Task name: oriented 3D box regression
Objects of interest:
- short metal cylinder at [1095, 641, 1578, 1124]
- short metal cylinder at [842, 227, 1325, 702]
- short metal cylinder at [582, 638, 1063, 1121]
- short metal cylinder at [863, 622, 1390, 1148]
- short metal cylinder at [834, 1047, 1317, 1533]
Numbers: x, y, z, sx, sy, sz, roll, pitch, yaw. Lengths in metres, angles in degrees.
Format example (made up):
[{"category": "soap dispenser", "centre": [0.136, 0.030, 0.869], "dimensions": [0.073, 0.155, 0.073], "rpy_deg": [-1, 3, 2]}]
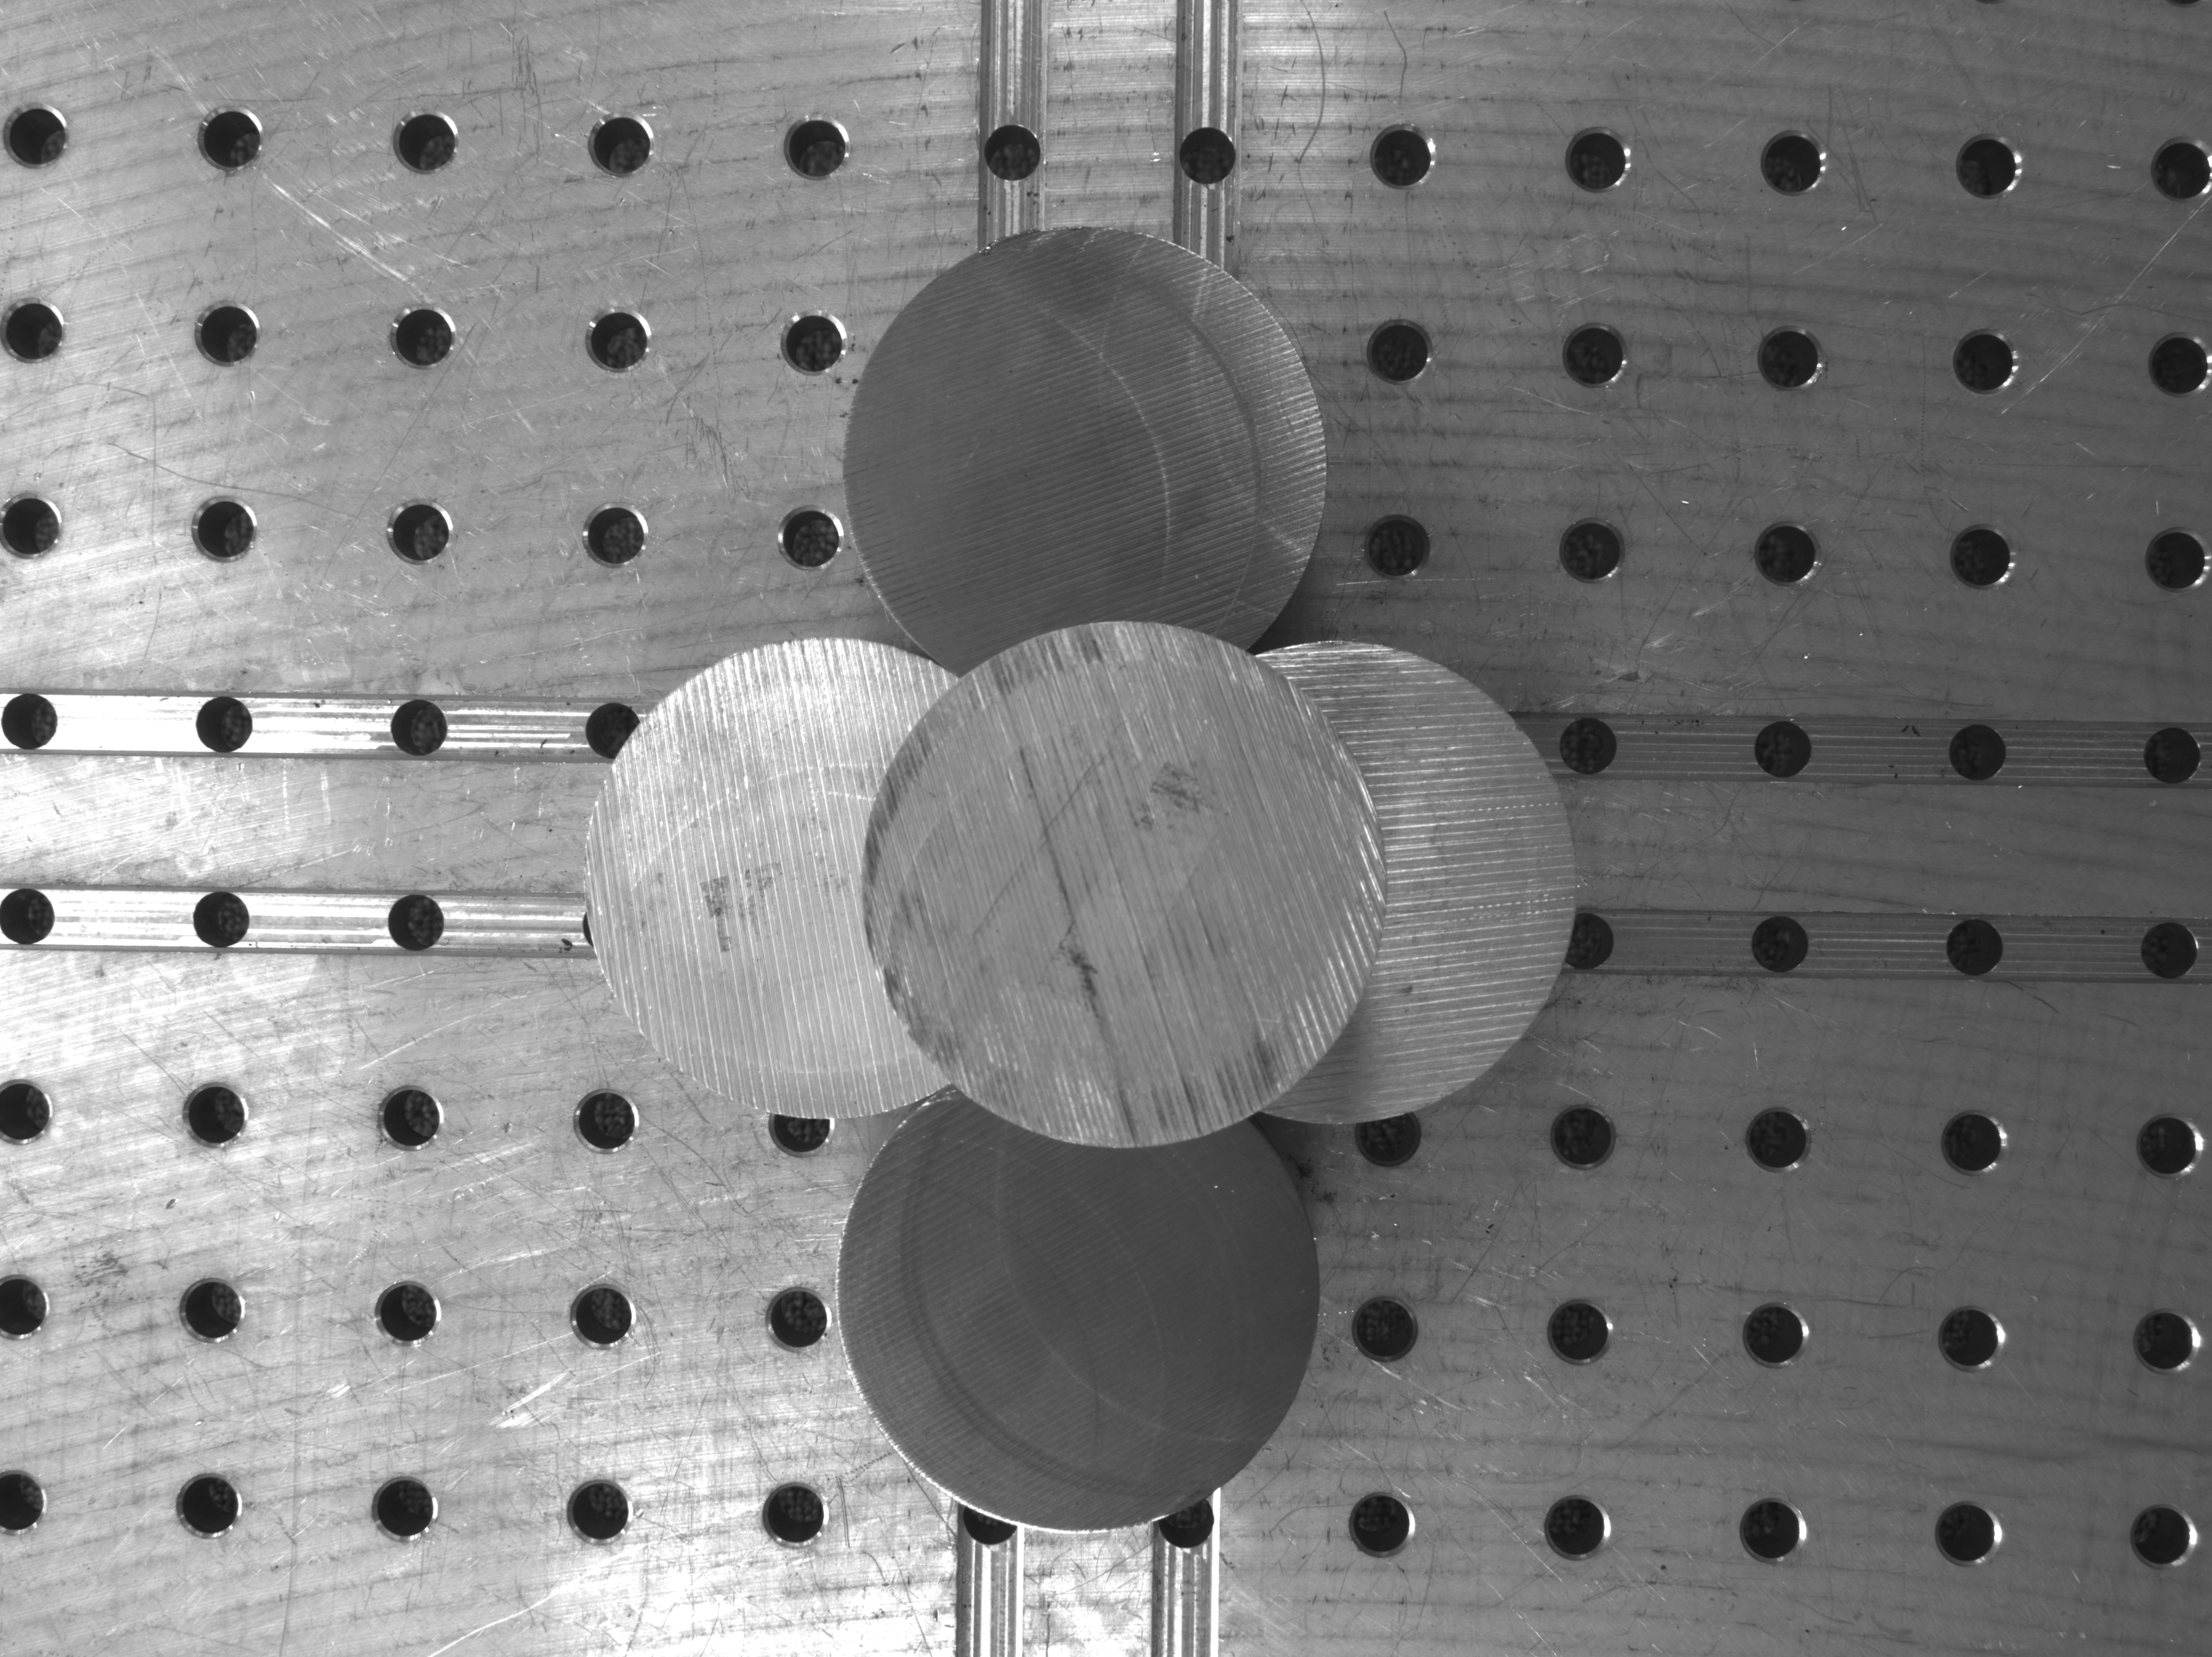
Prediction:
[{"category": "short metal cylinder", "centre": [0.038, 0.009, 0.635], "dimensions": [0.080, 0.050, 0.080], "rpy_deg": [0, 90, 0]}, {"category": "short metal cylinder", "centre": [-0.004, -0.060, 0.635], "dimensions": [0.080, 0.050, 0.080], "rpy_deg": [0, 90, -1]}, {"category": "short metal cylinder", "centre": [-0.047, 0.008, 0.636], "dimensions": [0.080, 0.050, 0.080], "rpy_deg": [0, 90, 0]}, {"category": "short metal cylinder", "centre": [0.003, 0.009, 0.585], "dimensions": [0.080, 0.050, 0.080], "rpy_deg": [0, 90, 0]}, {"category": "short metal cylinder", "centre": [-0.005, 0.077, 0.635], "dimensions": [0.080, 0.050, 0.080], "rpy_deg": [0, 88, 0]}]
